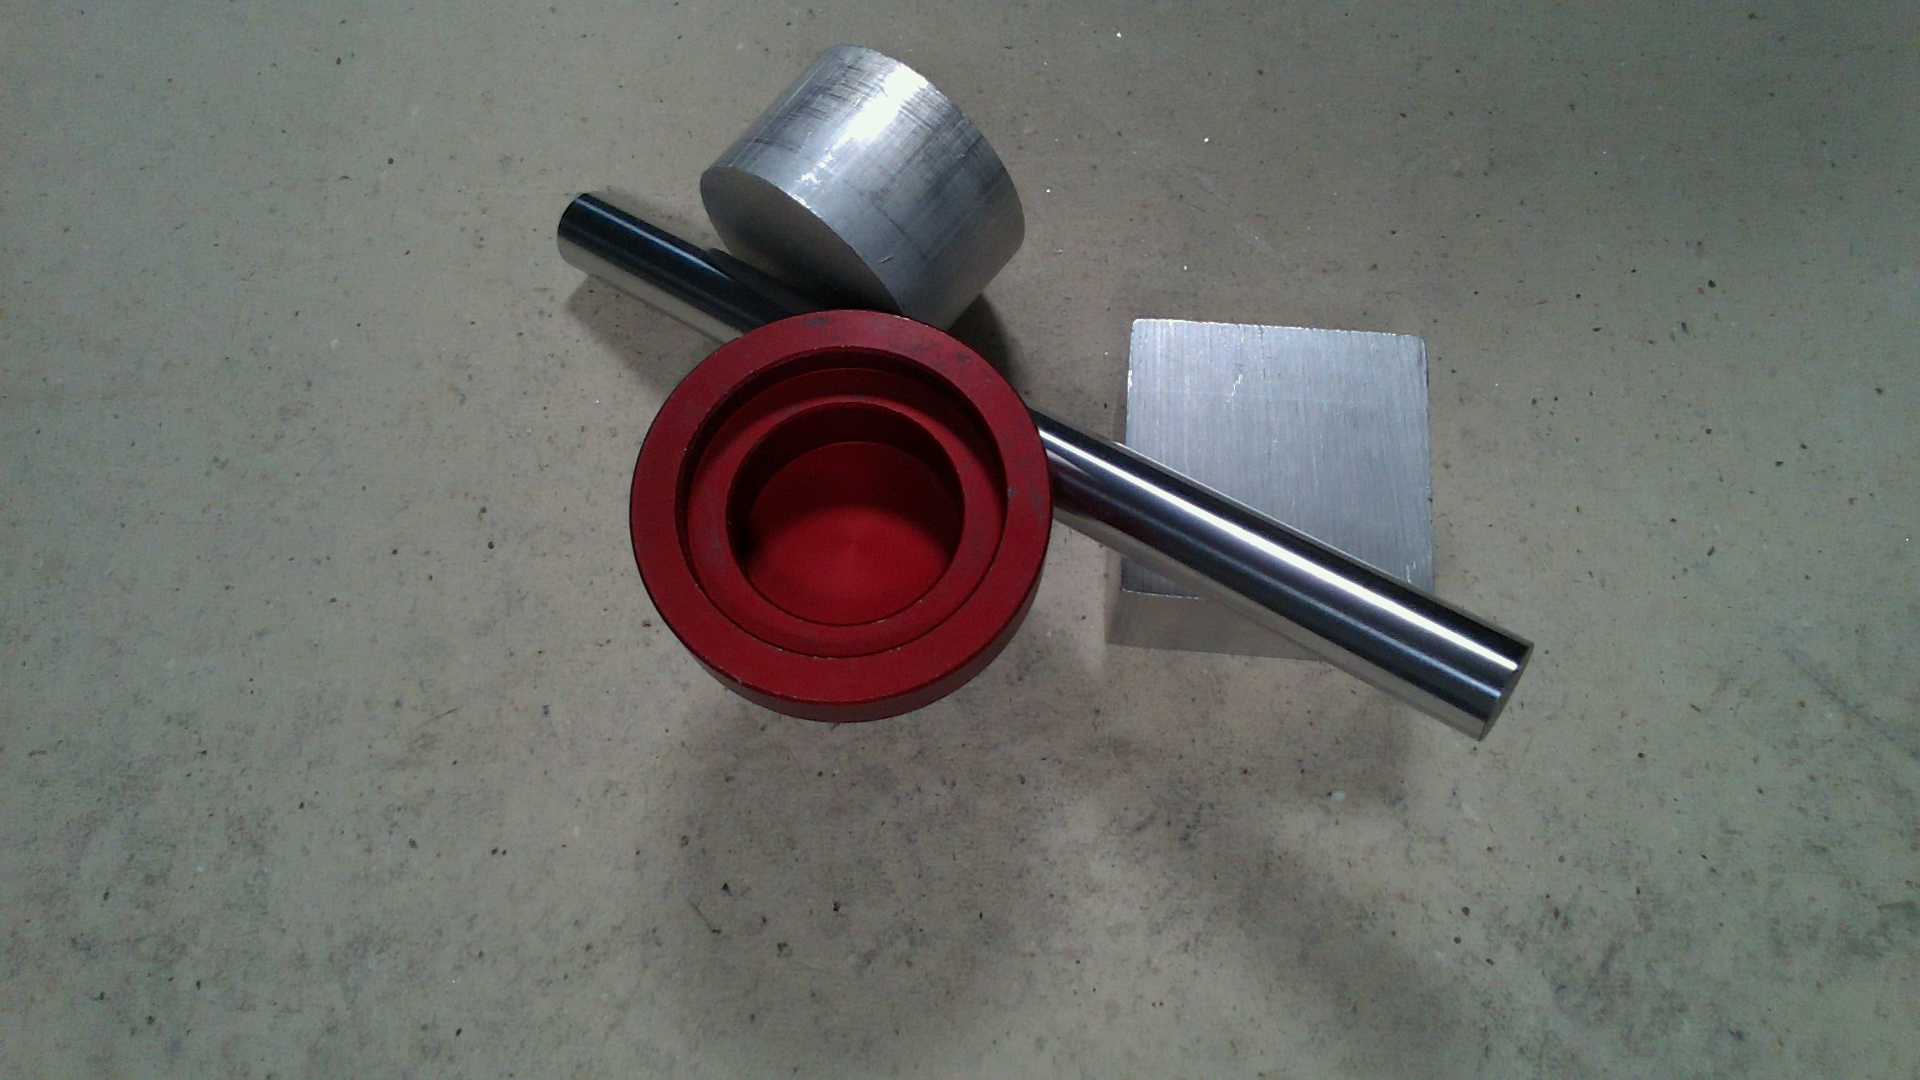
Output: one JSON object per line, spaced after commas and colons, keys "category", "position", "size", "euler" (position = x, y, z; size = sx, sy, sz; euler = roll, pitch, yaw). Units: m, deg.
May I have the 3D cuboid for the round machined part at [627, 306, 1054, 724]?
{"category": "round machined part", "position": [-0.027, -0.003, 0.334], "size": [0.098, 0.042, 0.098], "euler": [0, 71, 0]}

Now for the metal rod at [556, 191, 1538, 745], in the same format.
{"category": "metal rod", "position": [0.003, -0.031, 0.366], "size": [0.299, 0.025, 0.025], "euler": [29, 72, 25]}

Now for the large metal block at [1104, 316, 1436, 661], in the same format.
{"category": "large metal block", "position": [0.084, -0.013, 0.386], "size": [0.080, 0.050, 0.080], "euler": [4, 70, 2]}

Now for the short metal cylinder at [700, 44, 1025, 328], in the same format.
{"category": "short metal cylinder", "position": [-0.028, -0.094, 0.400], "size": [0.080, 0.080, 0.050], "euler": [36, 74, 12]}

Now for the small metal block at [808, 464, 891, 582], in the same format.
{"category": "small metal block", "position": [-0.031, 0.001, 0.382], "size": [0.025, 0.050, 0.050], "euler": [-2, 70, 0]}
